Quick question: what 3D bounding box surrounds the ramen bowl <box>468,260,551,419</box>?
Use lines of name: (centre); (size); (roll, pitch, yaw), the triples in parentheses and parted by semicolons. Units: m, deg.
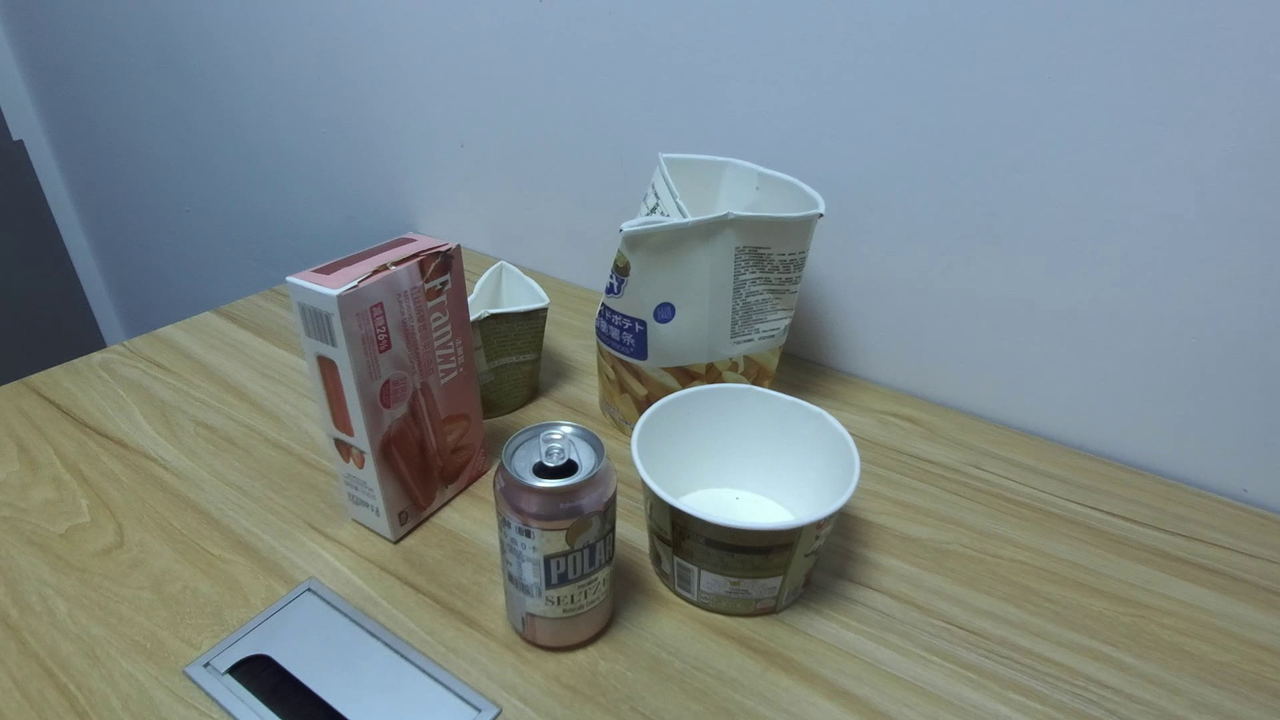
ramen bowl: (-0.151, -0.015, 0.618); (0.129, 0.093, 0.111); (-18, 37, -31)

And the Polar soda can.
Polar soda can: (-0.047, 0.101, 0.404); (0.067, 0.125, 0.067); (2, 30, -1)

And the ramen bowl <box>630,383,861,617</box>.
ramen bowl: (0.063, 0.091, 0.454); (0.140, 0.095, 0.140); (1, 31, 0)

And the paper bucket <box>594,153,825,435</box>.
paper bucket: (0.038, -0.052, 0.589); (0.169, 0.202, 0.162); (-6, 31, -18)

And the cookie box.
cookie box: (-0.156, 0.016, 0.475); (0.048, 0.188, 0.105); (17, 34, 27)
